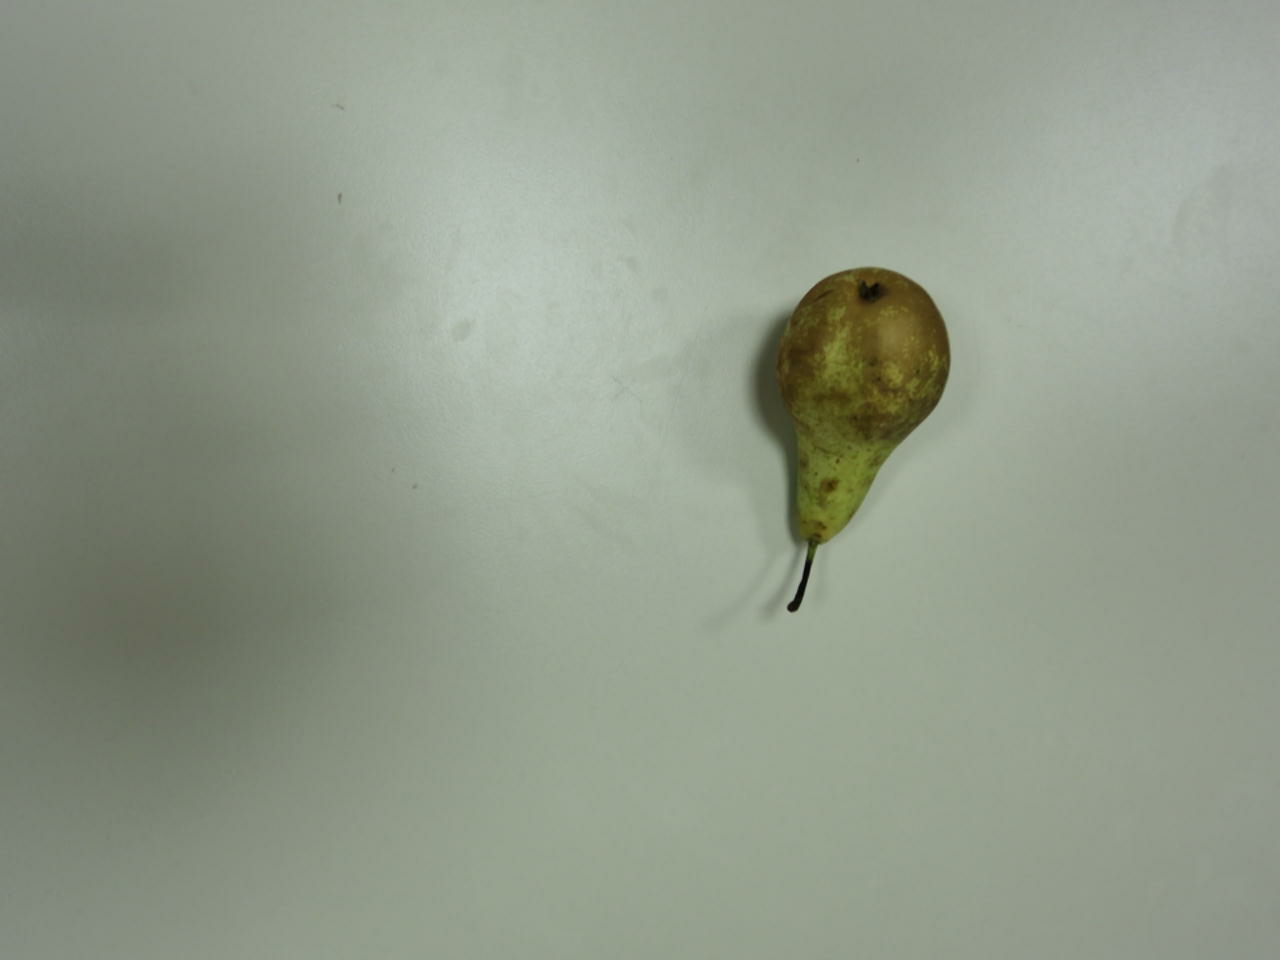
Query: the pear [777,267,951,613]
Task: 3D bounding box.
[{"bbox_3d":[0.096,-0.017,0.425,0.071,0.075,0.144,-3,91,-12],"label":"pear"}]
